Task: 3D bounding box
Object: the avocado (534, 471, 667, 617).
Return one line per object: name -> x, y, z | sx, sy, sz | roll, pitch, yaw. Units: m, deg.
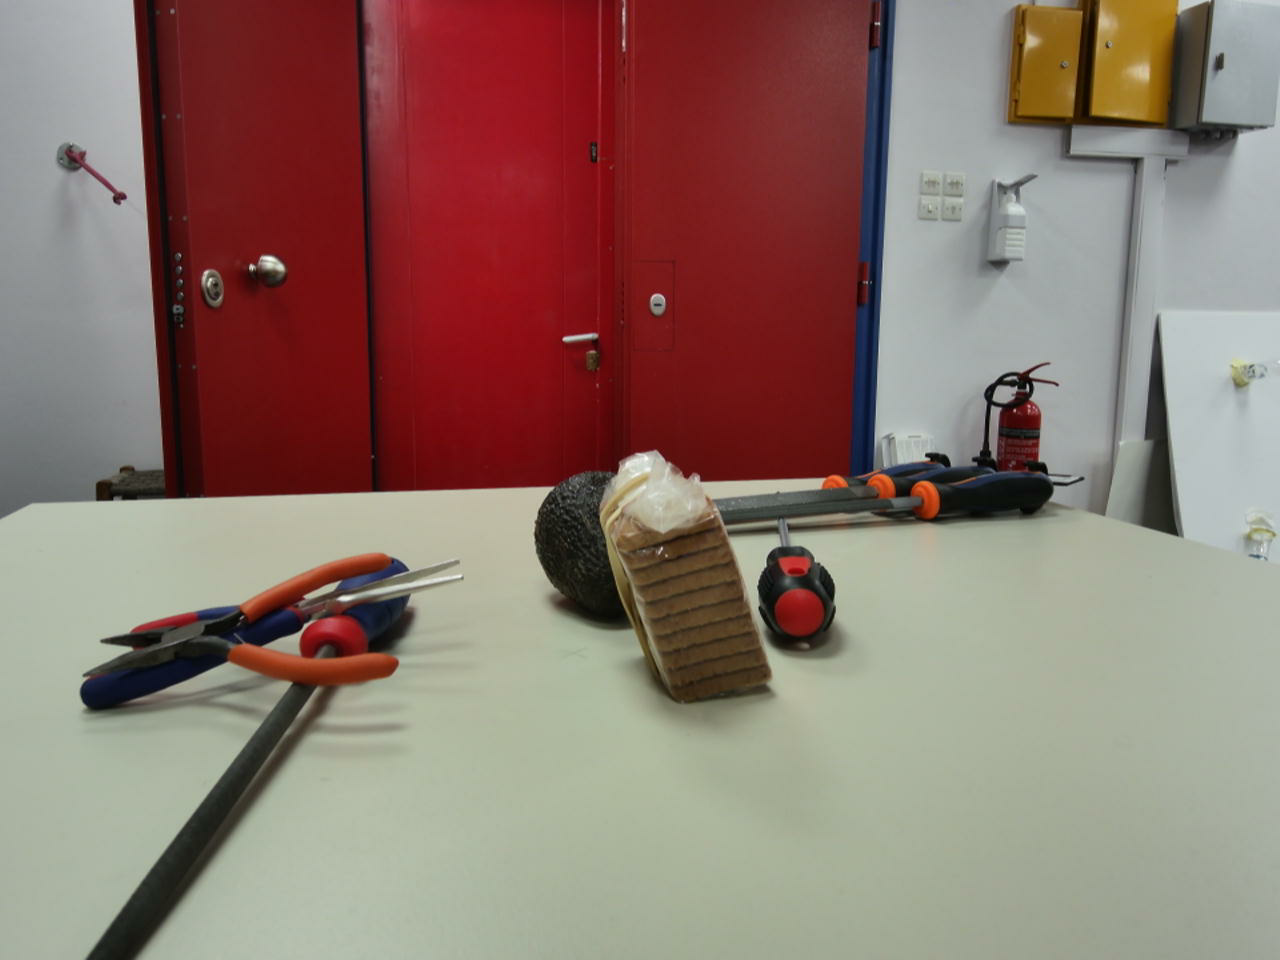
avocado -> -0.022, 0.031, 0.519 | 0.070, 0.069, 0.090 | 3, 7, 12
